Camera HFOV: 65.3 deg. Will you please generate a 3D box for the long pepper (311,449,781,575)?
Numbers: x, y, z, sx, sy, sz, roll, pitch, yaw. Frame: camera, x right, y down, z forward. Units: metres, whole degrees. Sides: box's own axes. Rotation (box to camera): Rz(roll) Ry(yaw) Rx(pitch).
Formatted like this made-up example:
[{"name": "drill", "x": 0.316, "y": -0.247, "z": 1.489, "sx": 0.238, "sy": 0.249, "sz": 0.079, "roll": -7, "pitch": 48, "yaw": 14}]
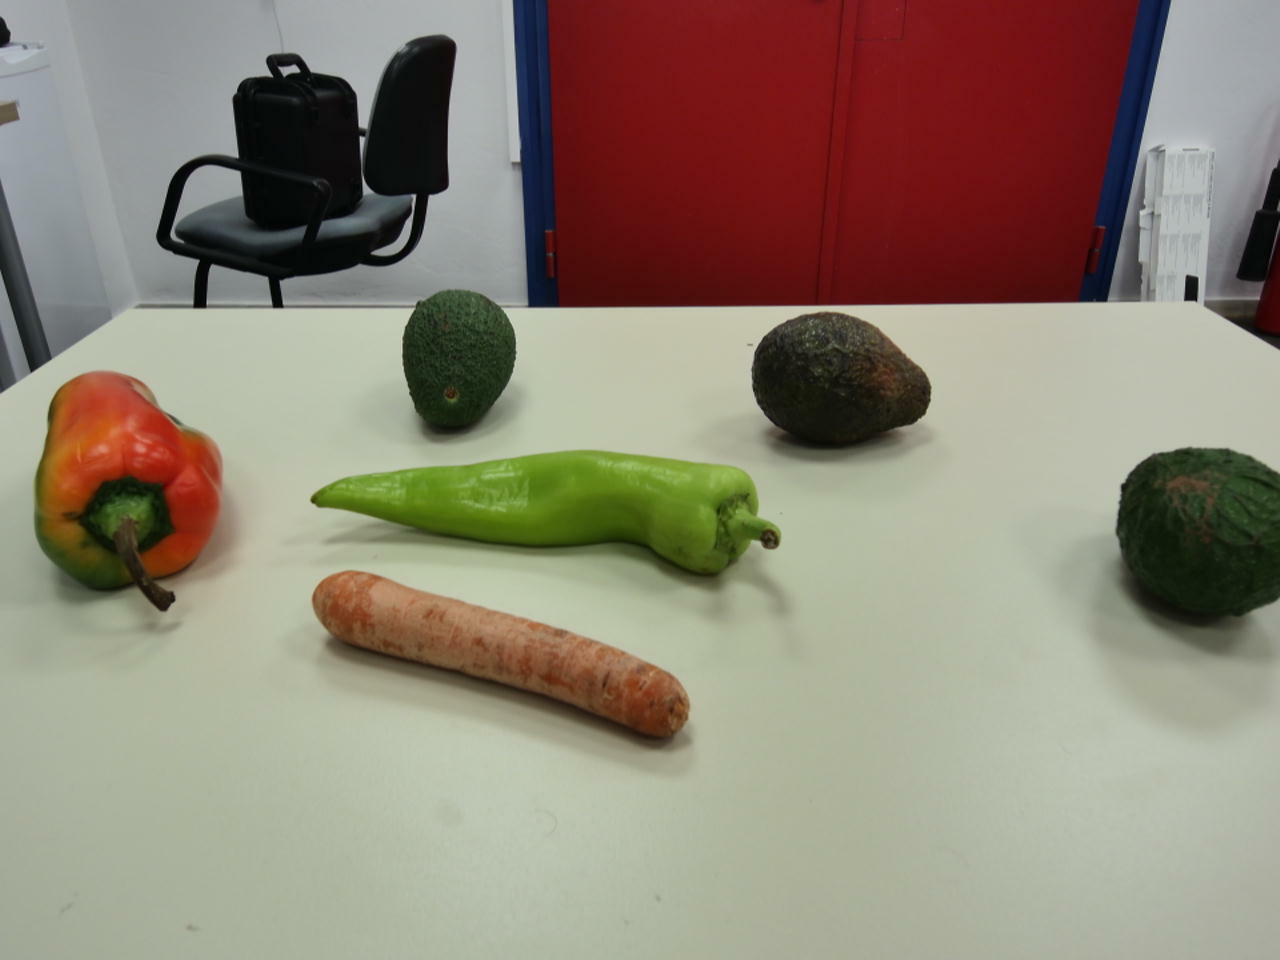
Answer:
[{"name": "long pepper", "x": -0.036, "y": 0.009, "z": 0.431, "sx": 0.205, "sy": 0.045, "sz": 0.065, "roll": 7, "pitch": 25, "yaw": 15}]
